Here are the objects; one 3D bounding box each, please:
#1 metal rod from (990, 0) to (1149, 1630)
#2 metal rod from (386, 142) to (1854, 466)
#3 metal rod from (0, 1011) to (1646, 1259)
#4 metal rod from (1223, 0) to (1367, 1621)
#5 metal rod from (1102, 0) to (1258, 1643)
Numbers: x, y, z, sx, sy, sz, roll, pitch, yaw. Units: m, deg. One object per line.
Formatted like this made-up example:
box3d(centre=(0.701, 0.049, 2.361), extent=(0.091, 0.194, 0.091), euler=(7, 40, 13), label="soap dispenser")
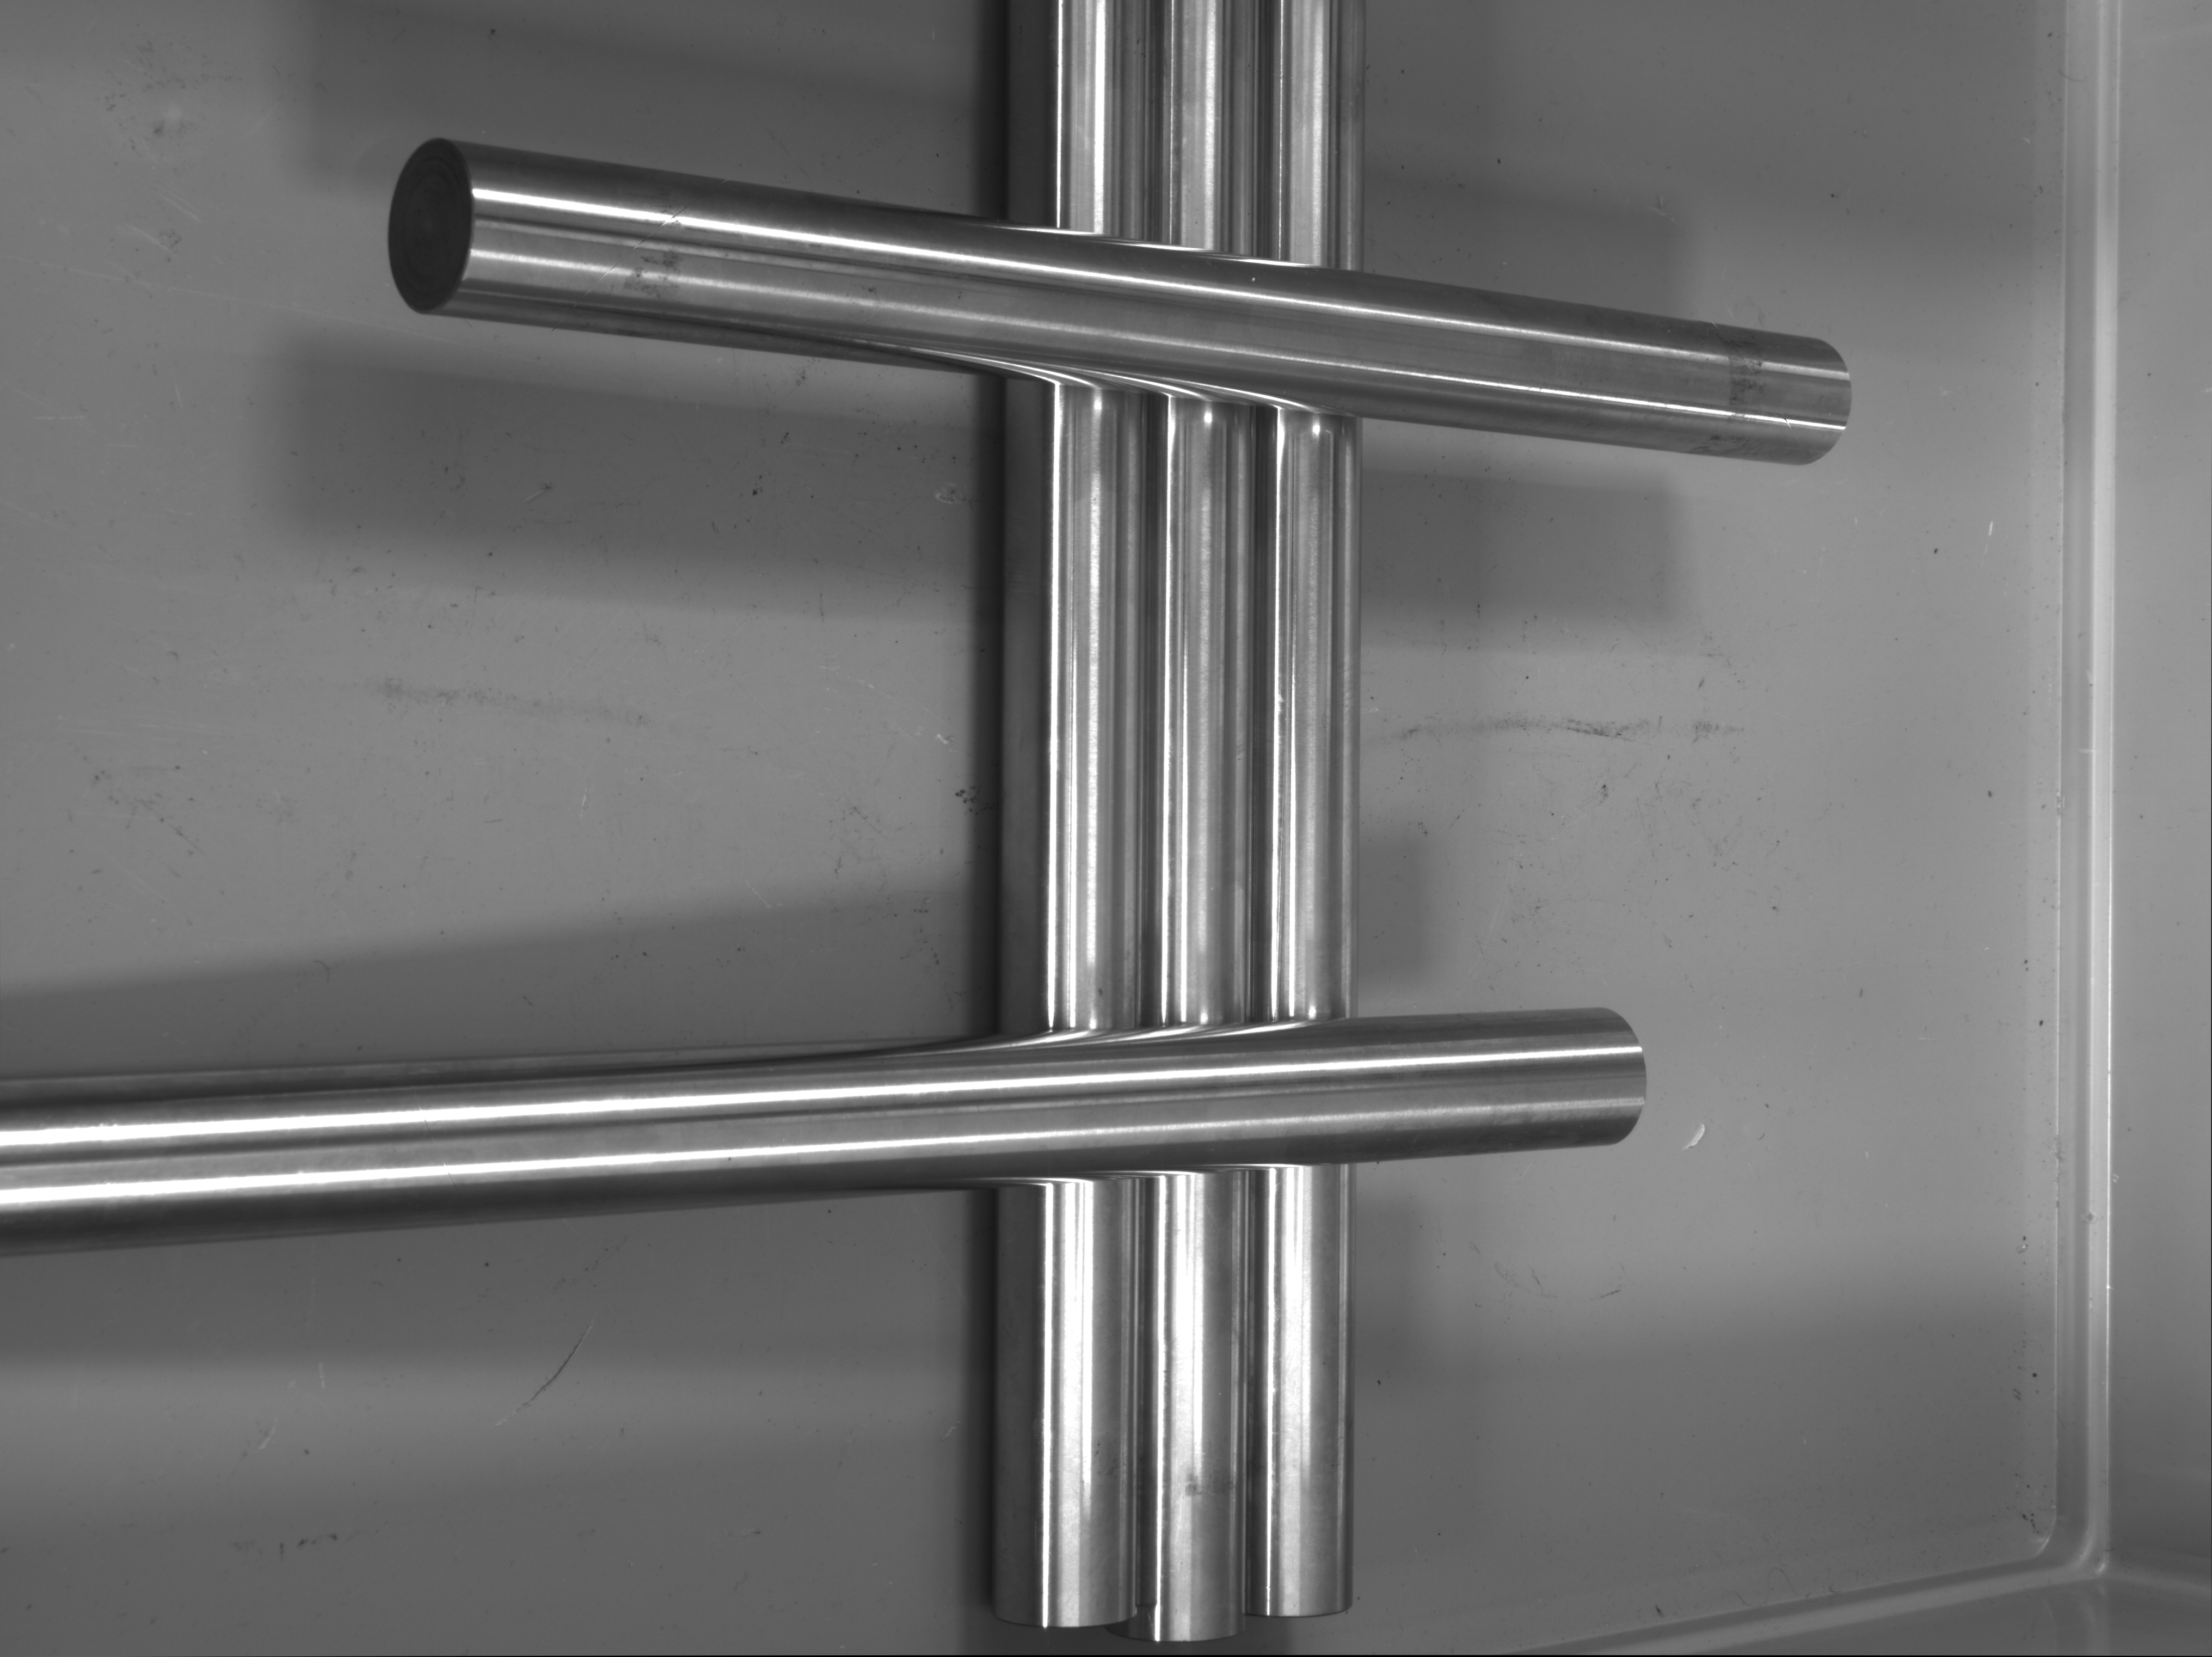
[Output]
box3d(centre=(-0.006, -0.015, 0.630), extent=(0.025, 0.025, 0.300), euler=(1, 89, -40), label="metal rod")
box3d(centre=(0.020, -0.084, 0.619), extent=(0.301, 0.025, 0.025), euler=(1, 90, -39), label="metal rod")
box3d(centre=(-0.038, 0.046, 0.580), extent=(0.301, 0.025, 0.025), euler=(0, 90, -33), label="metal rod")
box3d(centre=(0.033, -0.010, 0.661), extent=(0.025, 0.025, 0.300), euler=(1, 89, -40), label="metal rod")
box3d(centre=(0.013, -0.010, 0.646), extent=(0.025, 0.025, 0.300), euler=(1, 89, -40), label="metal rod")
